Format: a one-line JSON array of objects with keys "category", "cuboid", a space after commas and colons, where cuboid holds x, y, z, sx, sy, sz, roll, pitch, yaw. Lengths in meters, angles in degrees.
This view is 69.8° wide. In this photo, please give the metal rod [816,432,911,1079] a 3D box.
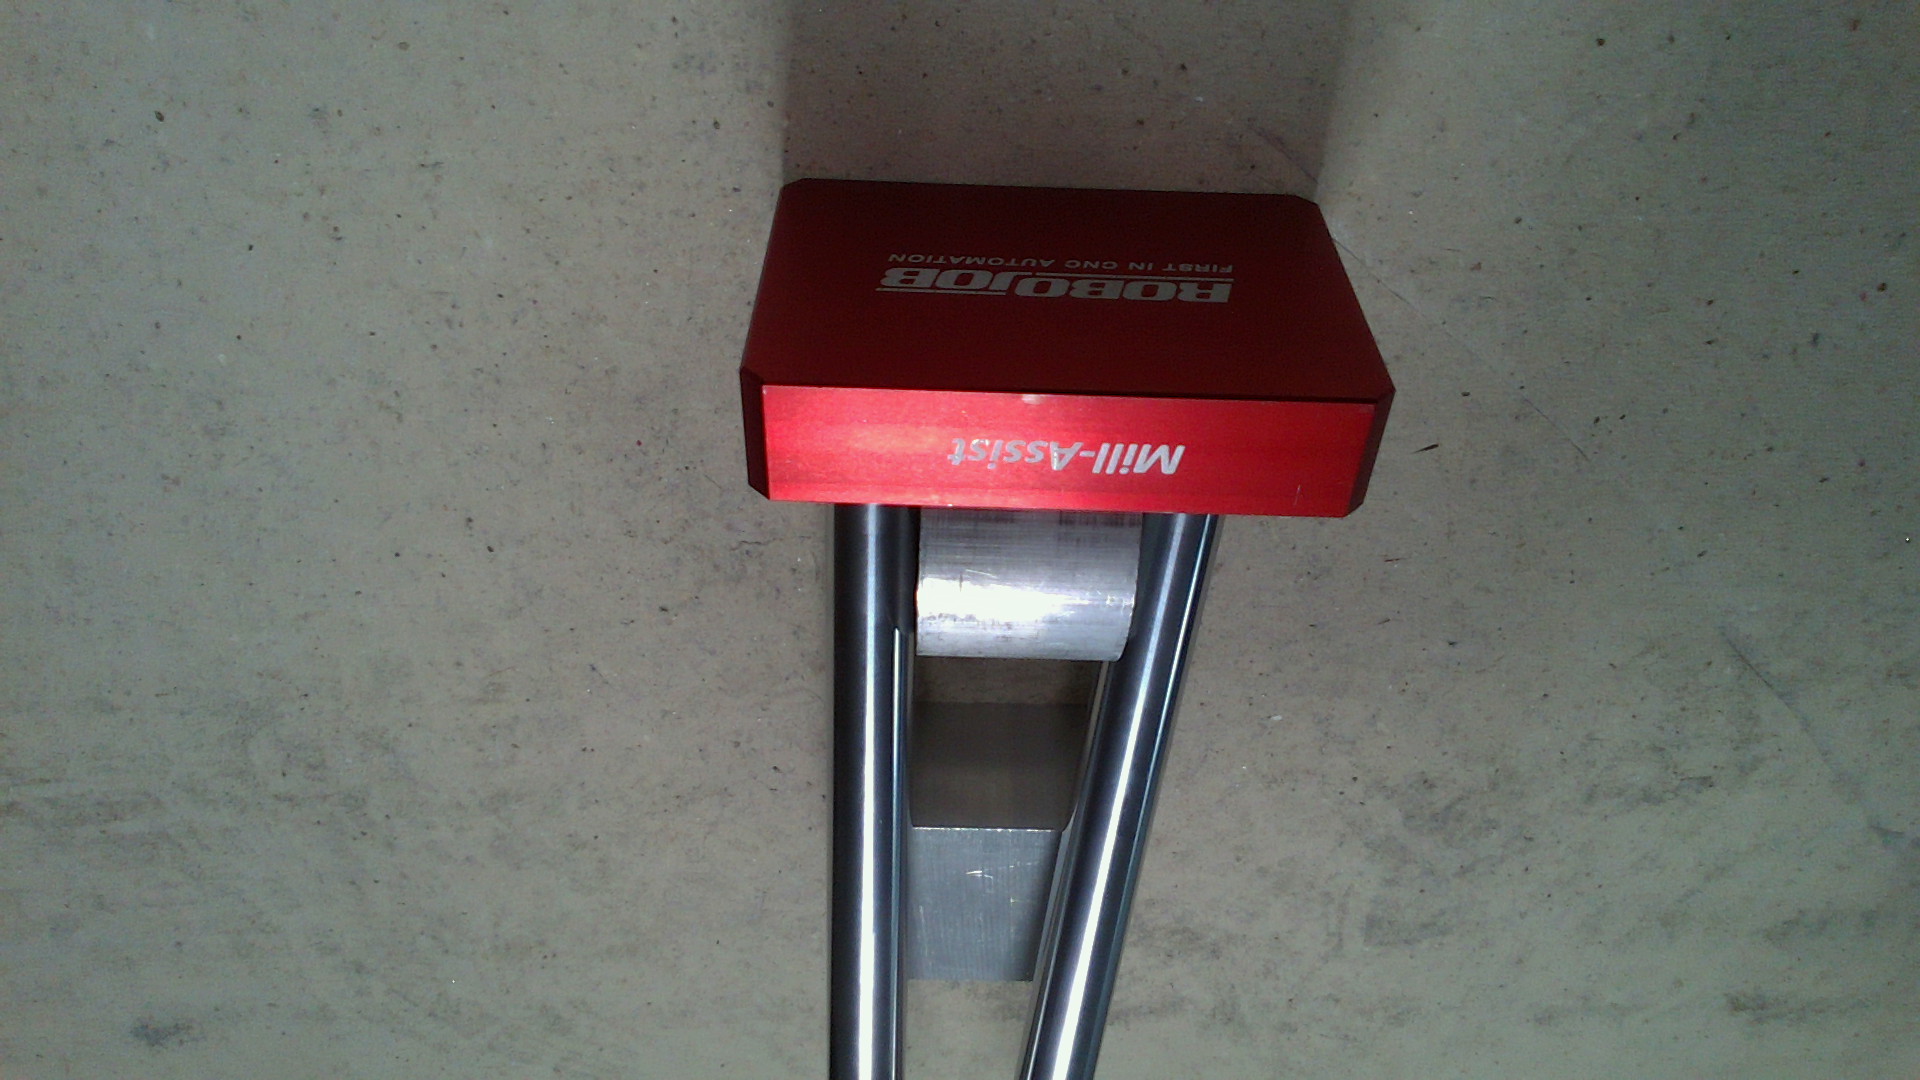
[{"category": "metal rod", "cuboid": [-0.027, 0.073, 0.392, 0.025, 0.025, 0.300, 1, 115, -1]}]

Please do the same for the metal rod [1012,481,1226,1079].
[{"category": "metal rod", "cuboid": [0.044, 0.076, 0.394, 0.025, 0.025, 0.300, 6, 115, -5]}]

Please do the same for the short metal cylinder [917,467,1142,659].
[{"category": "short metal cylinder", "cuboid": [0.015, -0.010, 0.347, 0.050, 0.080, 0.080, 1, 130, -2]}]

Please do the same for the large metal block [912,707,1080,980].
[{"category": "large metal block", "cuboid": [0.009, 0.102, 0.457, 0.080, 0.050, 0.080, 1, 130, -1]}]

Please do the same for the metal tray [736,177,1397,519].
[{"category": "metal tray", "cuboid": [0.021, -0.046, 0.309, 0.130, 0.090, 0.030, 2, 130, -2]}]
